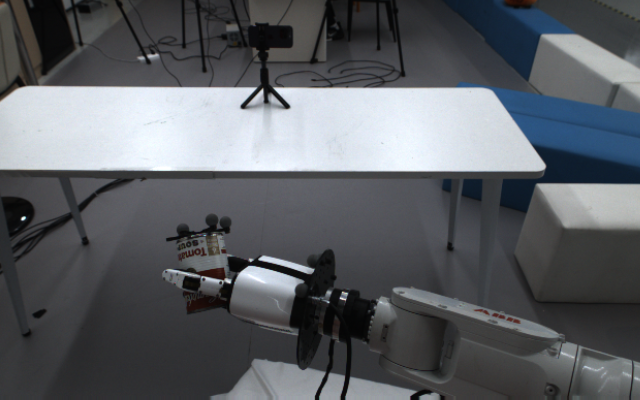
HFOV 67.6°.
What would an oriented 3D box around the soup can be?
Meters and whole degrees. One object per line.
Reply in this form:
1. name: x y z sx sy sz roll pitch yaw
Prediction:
1. soup can: -0.158 0.103 0.673 0.067 0.067 0.101 -10 79 -17
